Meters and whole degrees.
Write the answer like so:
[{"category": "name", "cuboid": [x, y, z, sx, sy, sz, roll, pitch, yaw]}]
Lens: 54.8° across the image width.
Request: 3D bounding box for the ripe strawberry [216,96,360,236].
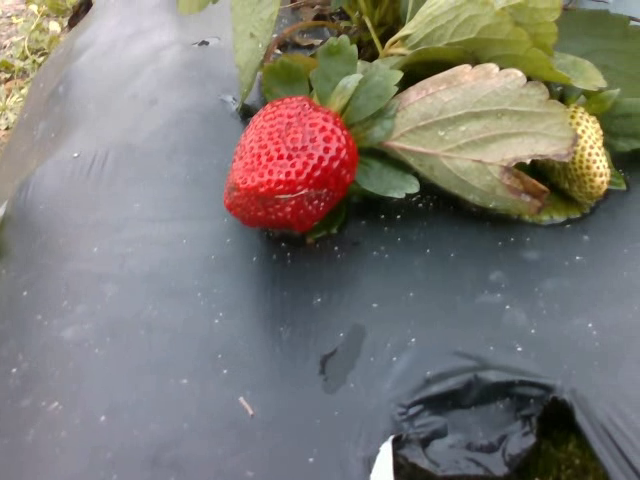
[{"category": "ripe strawberry", "cuboid": [-0.014, -0.022, 0.195, 0.046, 0.049, 0.064, -48, -7, 36]}]
